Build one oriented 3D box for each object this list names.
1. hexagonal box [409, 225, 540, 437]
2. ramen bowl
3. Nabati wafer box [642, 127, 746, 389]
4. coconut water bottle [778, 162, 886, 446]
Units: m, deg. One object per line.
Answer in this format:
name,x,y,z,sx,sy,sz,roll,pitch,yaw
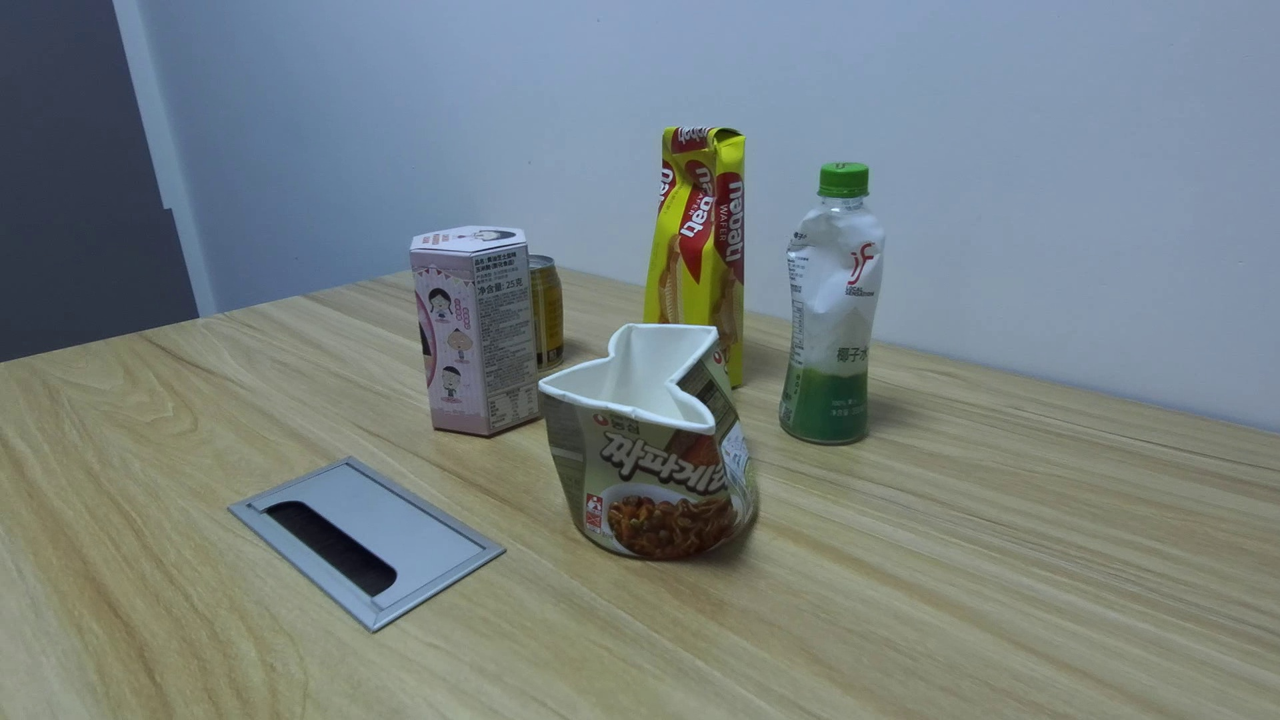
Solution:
hexagonal box,-0.120,-0.023,0.522,0.084,0.136,0.091,-5,22,-12
ramen bowl,0.015,0.042,0.414,0.111,0.093,0.128,10,25,24
Nabati wafer box,0.043,-0.080,0.571,0.043,0.205,0.112,-13,23,-32
coconut water bottle,0.133,-0.038,0.484,0.069,0.187,0.069,1,21,0
